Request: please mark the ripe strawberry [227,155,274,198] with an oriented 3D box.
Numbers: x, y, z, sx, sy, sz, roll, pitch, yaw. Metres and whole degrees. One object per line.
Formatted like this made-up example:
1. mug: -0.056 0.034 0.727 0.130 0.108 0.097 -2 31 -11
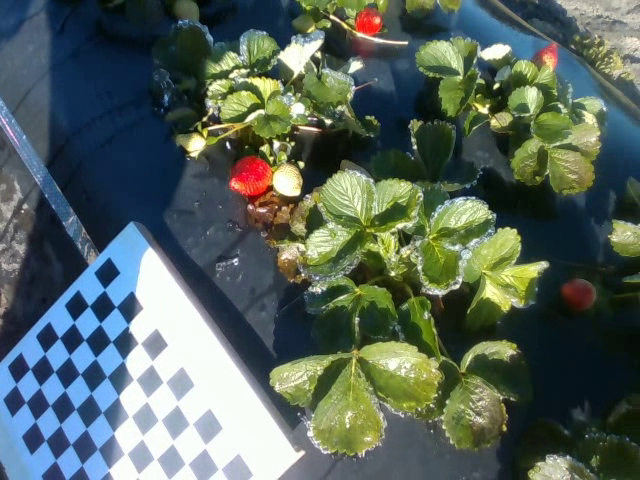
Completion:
1. ripe strawberry: -0.066 -0.054 0.568 0.040 0.042 0.053 10 21 21
